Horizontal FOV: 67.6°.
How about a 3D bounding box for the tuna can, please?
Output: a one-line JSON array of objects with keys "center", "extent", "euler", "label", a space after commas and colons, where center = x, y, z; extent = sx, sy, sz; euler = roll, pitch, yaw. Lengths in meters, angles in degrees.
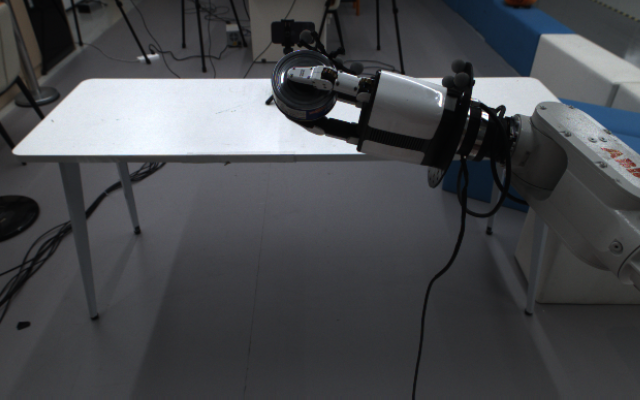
[{"center": [-0.017, -0.146, 0.614], "extent": [0.085, 0.034, 0.085], "euler": [0, 74, 0], "label": "tuna can"}]
